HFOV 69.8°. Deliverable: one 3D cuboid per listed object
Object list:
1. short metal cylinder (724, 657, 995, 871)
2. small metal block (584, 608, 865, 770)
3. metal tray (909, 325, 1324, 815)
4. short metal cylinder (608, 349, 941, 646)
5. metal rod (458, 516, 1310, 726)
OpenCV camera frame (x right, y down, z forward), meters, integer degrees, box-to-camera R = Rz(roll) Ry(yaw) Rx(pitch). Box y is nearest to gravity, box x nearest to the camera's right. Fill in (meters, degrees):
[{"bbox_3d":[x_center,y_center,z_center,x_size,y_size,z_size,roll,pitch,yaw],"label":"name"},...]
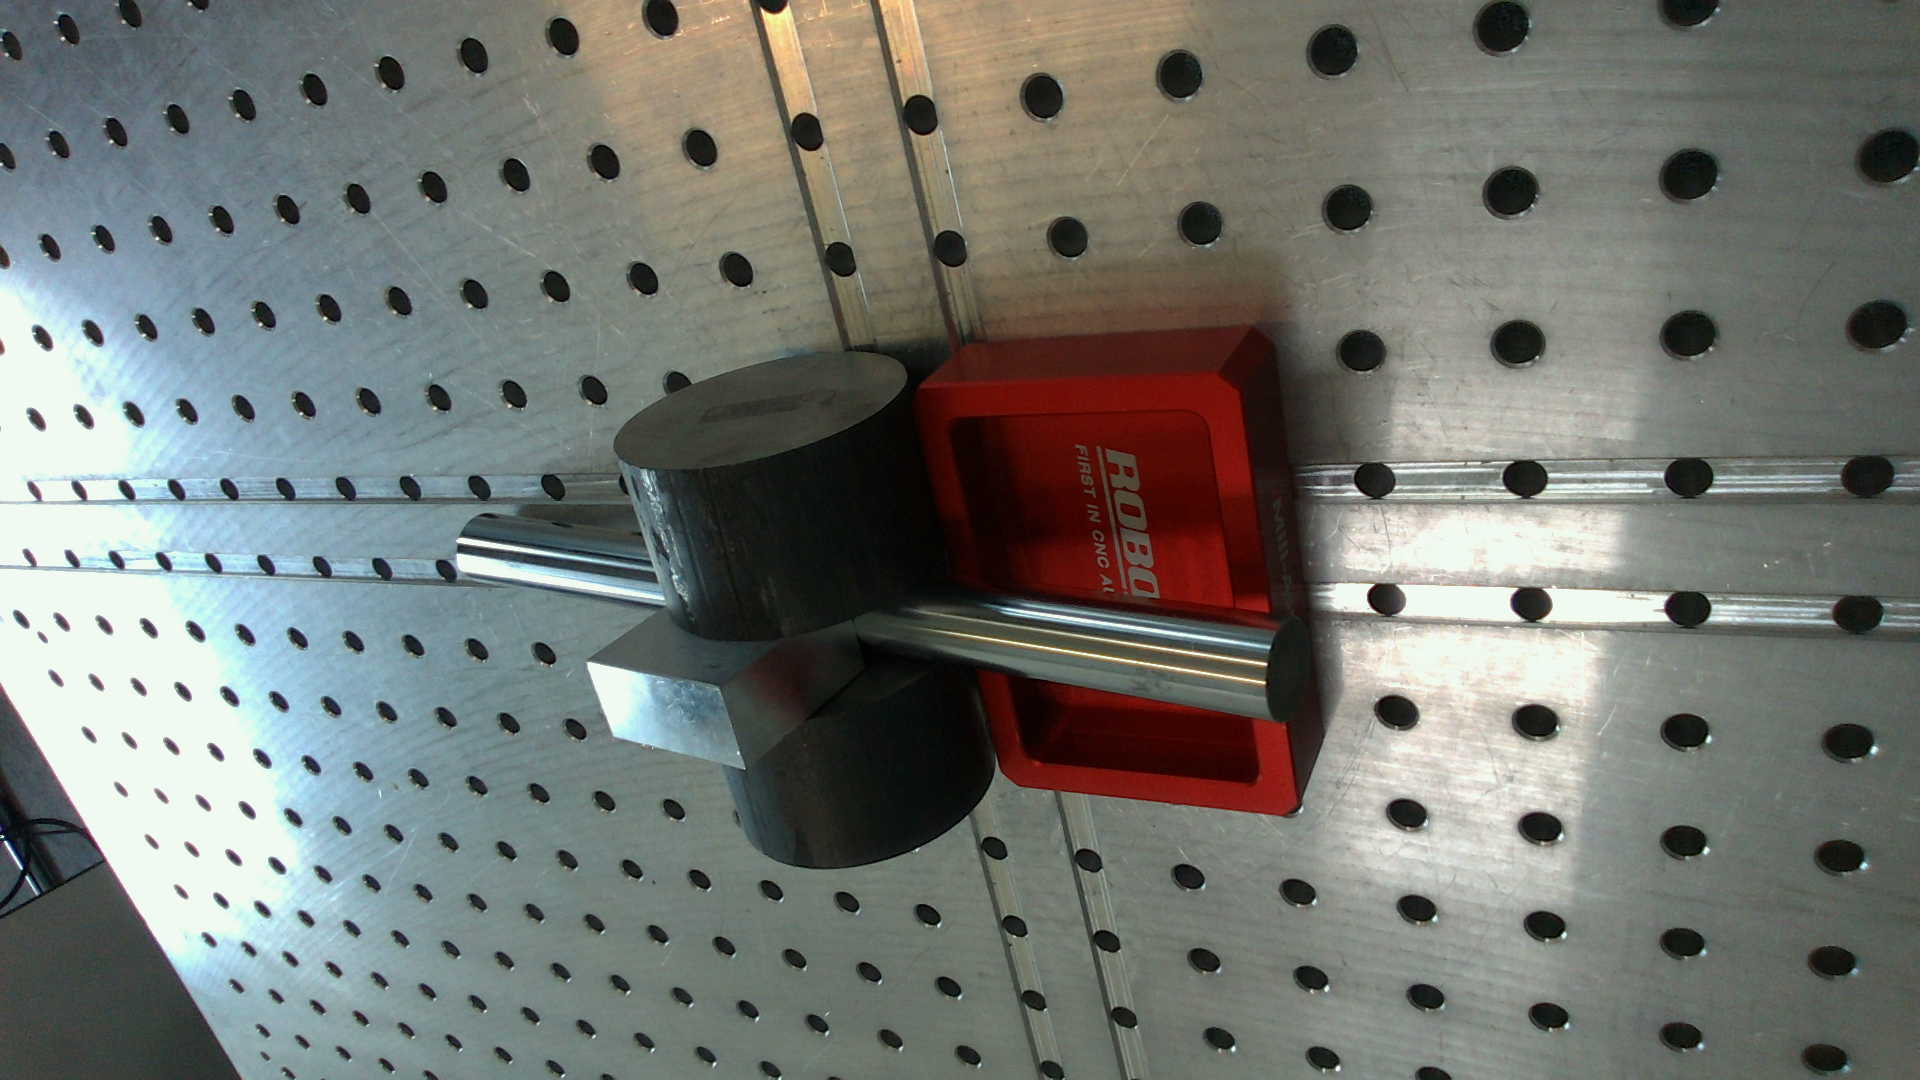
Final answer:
[{"bbox_3d":[-0.034,0.052,0.410,0.080,0.080,0.050,1,119,28],"label":"short metal cylinder"},{"bbox_3d":[-0.063,0.033,0.372,0.050,0.050,0.025,6,121,35],"label":"small metal block"},{"bbox_3d":[0.045,0.010,0.374,0.090,0.030,0.130,1,119,28],"label":"metal tray"},{"bbox_3d":[-0.049,-0.014,0.376,0.080,0.080,0.050,1,119,28],"label":"short metal cylinder"},{"bbox_3d":[-0.046,0.016,0.400,0.299,0.025,0.025,6,122,35],"label":"metal rod"}]
